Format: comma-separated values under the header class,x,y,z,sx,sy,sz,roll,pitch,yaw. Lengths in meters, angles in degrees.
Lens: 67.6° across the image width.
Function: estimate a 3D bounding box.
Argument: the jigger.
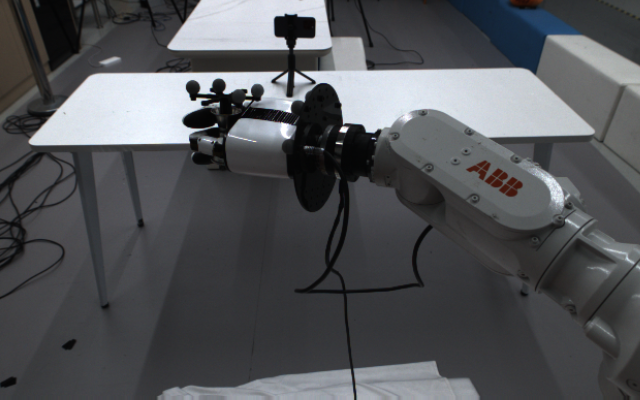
class,x,y,z,sx,sy,sz,roll,pitch,yaw
jigger,-0.119,-0.086,0.643,0.043,0.071,0.043,3,25,-1
